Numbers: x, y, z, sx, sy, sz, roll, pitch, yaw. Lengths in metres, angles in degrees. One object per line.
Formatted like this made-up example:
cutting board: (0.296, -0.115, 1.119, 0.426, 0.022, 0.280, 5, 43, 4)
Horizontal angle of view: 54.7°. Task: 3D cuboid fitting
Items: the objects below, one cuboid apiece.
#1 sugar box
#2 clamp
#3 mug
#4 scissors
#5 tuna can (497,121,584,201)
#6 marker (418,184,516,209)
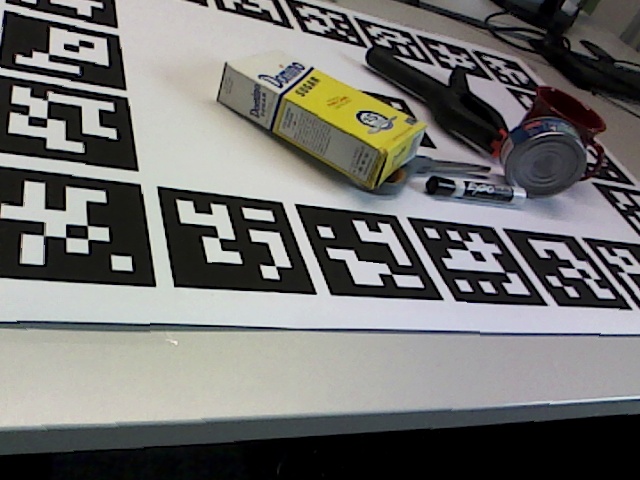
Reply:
sugar box: (0.004, -0.113, 0.589, 0.177, 0.045, 0.092, 34, 37, 18)
clamp: (0.159, -0.164, 0.779, 0.164, 0.037, 0.204, -4, 48, -35)
mug: (0.277, -0.115, 0.744, 0.118, 0.081, 0.093, 42, 39, 23)
scissors: (0.099, -0.078, 0.634, 0.201, 0.016, 0.088, -3, 43, -37)
tuna can: (0.242, -0.085, 0.679, 0.085, 0.086, 0.034, 16, 38, -15)
marker: (0.150, -0.044, 0.629, 0.120, 0.019, 0.020, 1, 45, -30)
